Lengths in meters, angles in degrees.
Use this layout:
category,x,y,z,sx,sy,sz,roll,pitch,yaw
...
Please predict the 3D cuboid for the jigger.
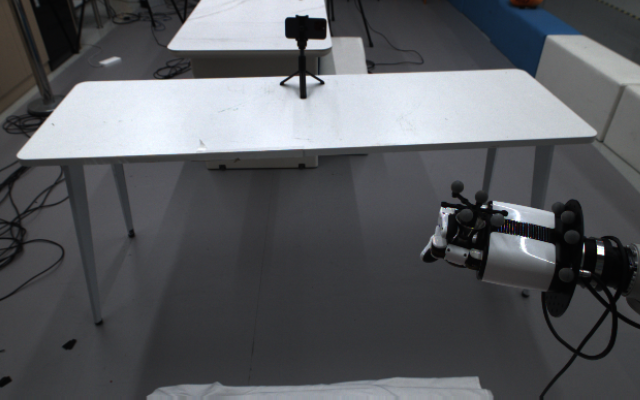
category,x,y,z,sx,sy,sz,roll,pitch,yaw
jigger,0.201,0.055,0.674,0.043,0.071,0.043,7,32,-4
